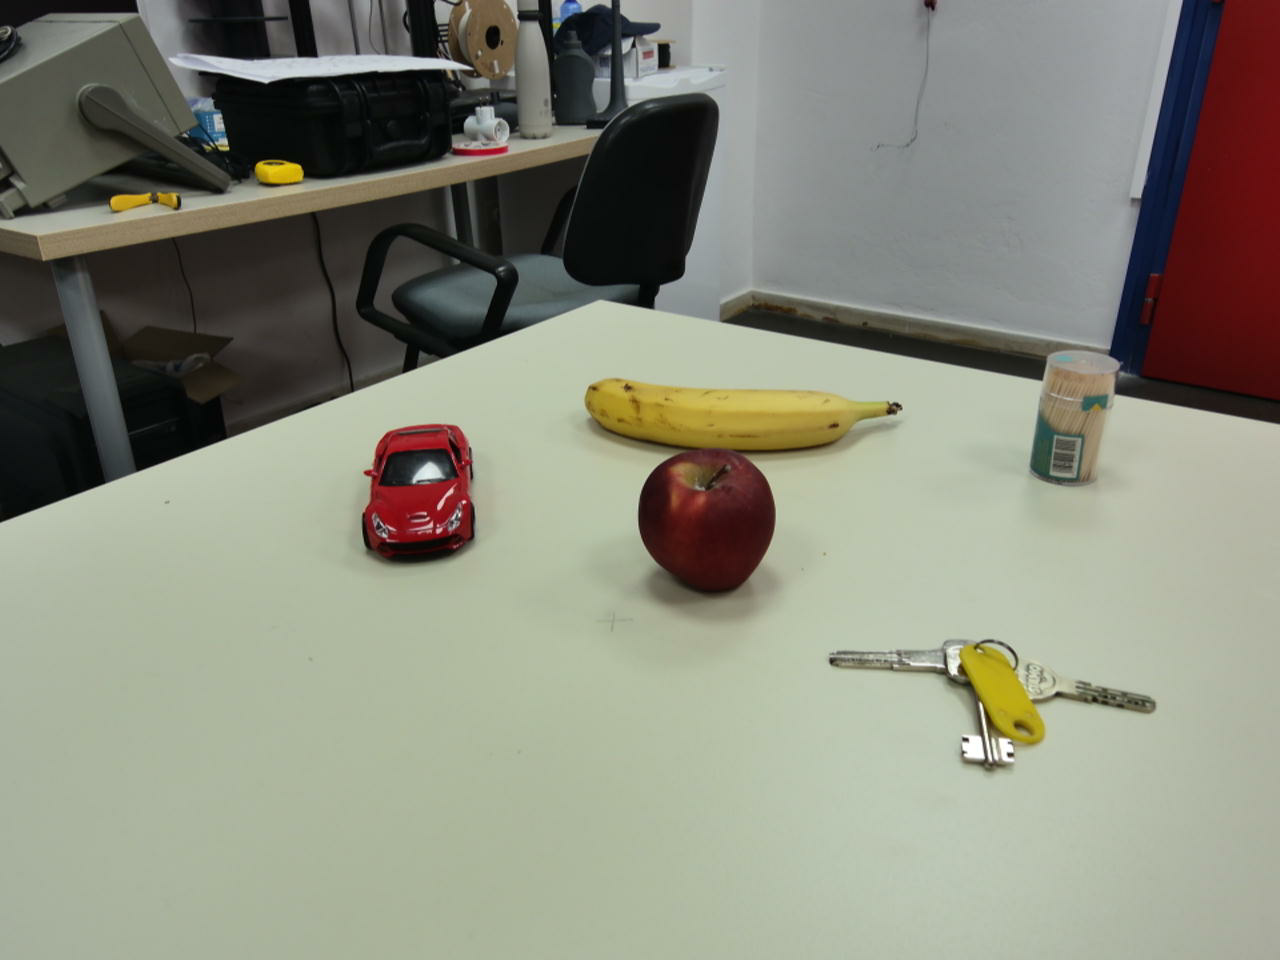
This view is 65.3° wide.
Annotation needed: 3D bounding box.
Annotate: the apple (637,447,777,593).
[{"bbox_3d":[0.034,0.019,0.502,0.070,0.072,0.070,1,24,0],"label":"apple"}]
